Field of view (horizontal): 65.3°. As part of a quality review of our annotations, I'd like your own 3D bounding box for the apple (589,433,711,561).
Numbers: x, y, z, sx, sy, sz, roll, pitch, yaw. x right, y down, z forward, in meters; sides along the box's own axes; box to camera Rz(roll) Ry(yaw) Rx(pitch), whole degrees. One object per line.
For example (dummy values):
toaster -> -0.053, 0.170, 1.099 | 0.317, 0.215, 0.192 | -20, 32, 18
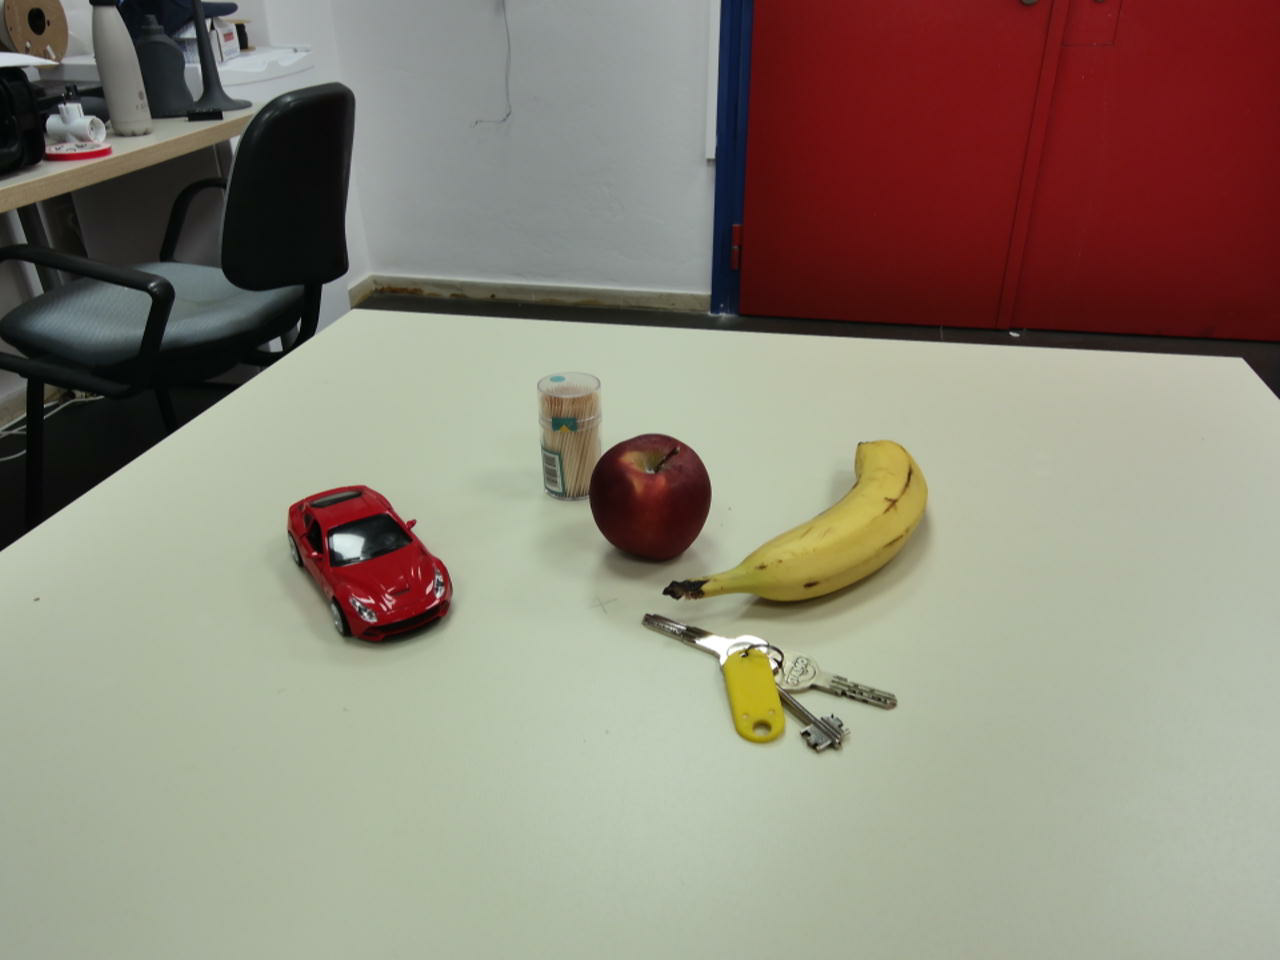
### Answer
apple -> 0.006, 0.010, 0.564 | 0.070, 0.072, 0.070 | 1, 26, 0
